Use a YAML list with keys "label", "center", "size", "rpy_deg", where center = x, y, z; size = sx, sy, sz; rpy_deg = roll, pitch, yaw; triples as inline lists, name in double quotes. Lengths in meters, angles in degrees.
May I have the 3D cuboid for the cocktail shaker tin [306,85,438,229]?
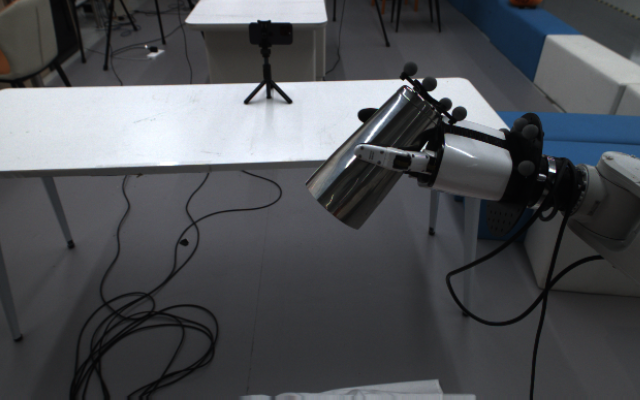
- label: "cocktail shaker tin"
  center: [0.072, -0.061, 0.607]
  size: [0.093, 0.170, 0.093]
  rpy_deg: [41, 12, -11]
